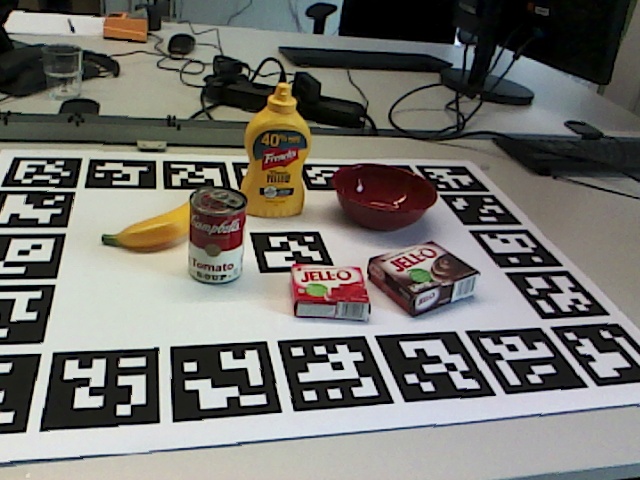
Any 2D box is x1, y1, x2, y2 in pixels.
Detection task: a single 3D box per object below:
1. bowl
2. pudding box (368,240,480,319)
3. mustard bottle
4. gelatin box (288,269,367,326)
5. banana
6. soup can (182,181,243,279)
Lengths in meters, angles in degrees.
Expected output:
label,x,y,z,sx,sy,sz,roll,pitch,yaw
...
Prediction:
label,x,y,z,sx,sy,sz,roll,pitch,yaw
bowl,0.100,-0.055,0.954,0.161,0.055,0.162,5,30,-3
pudding box,0.133,0.049,0.798,0.113,0.038,0.090,-15,43,-34
mustard bottle,-0.058,-0.133,0.886,0.096,0.191,0.059,0,29,-14
gelatin box,0.007,0.068,0.744,0.089,0.030,0.073,3,34,-8
banana,-0.203,-0.036,0.861,0.075,0.039,0.196,13,29,27
soup can,-0.133,-0.012,0.757,0.068,0.102,0.068,7,29,-5
